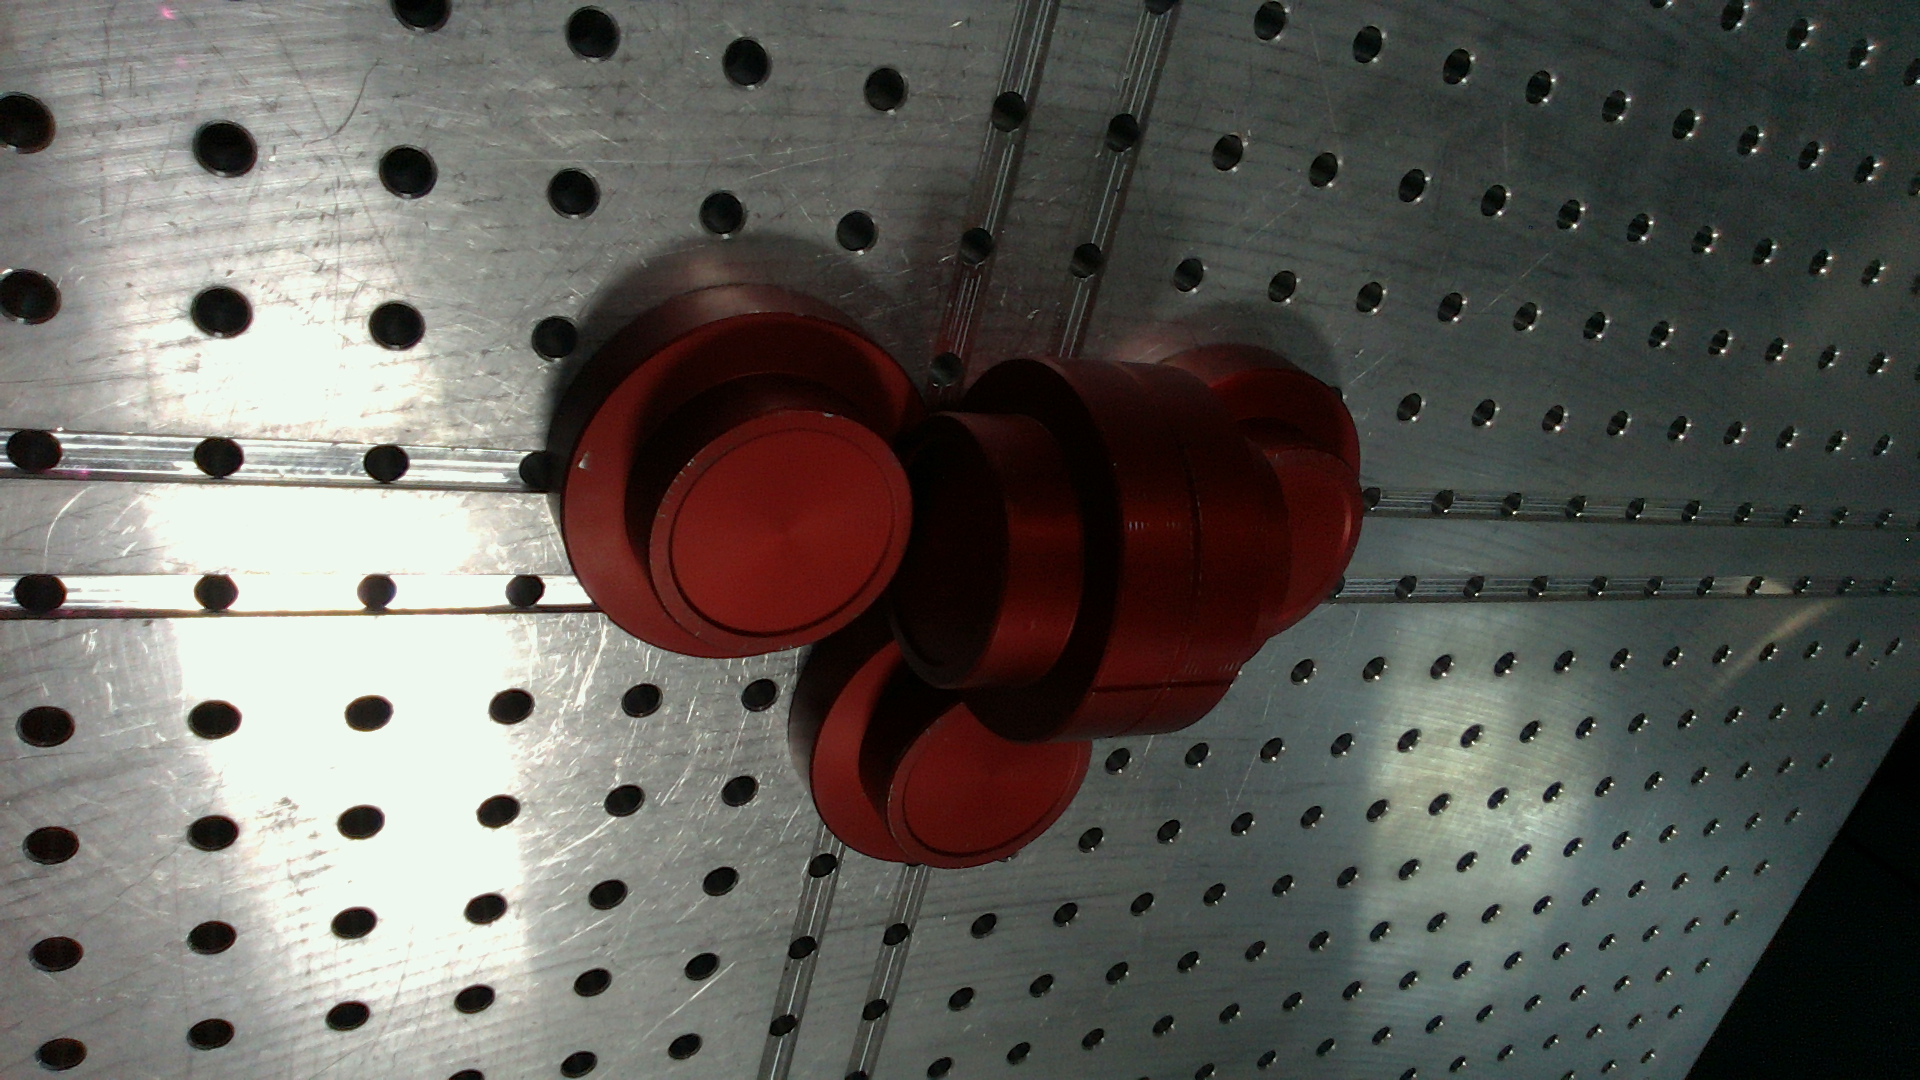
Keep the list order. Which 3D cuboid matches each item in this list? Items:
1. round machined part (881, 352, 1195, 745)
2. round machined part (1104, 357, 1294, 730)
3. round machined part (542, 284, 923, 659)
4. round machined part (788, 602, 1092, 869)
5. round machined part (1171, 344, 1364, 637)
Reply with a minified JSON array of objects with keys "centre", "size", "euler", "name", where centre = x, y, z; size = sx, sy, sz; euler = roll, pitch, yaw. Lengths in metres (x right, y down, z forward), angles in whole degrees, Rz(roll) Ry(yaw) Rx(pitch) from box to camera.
[{"centre":[0.012,0.002,0.345],"size":[0.042,0.098,0.098],"euler":[1,118,-29],"name":"round machined part"},{"centre":[0.050,0.001,0.366],"size":[0.042,0.098,0.098],"euler":[-1,119,-28],"name":"round machined part"},{"centre":[-0.051,-0.011,0.346],"size":[0.098,0.042,0.098],"euler":[-14,124,-21],"name":"round machined part"},{"centre":[0.001,0.060,0.418],"size":[0.098,0.042,0.098],"euler":[-14,124,-21],"name":"round machined part"},{"centre":[0.083,-0.007,0.421],"size":[0.098,0.042,0.098],"euler":[-14,124,-21],"name":"round machined part"}]
